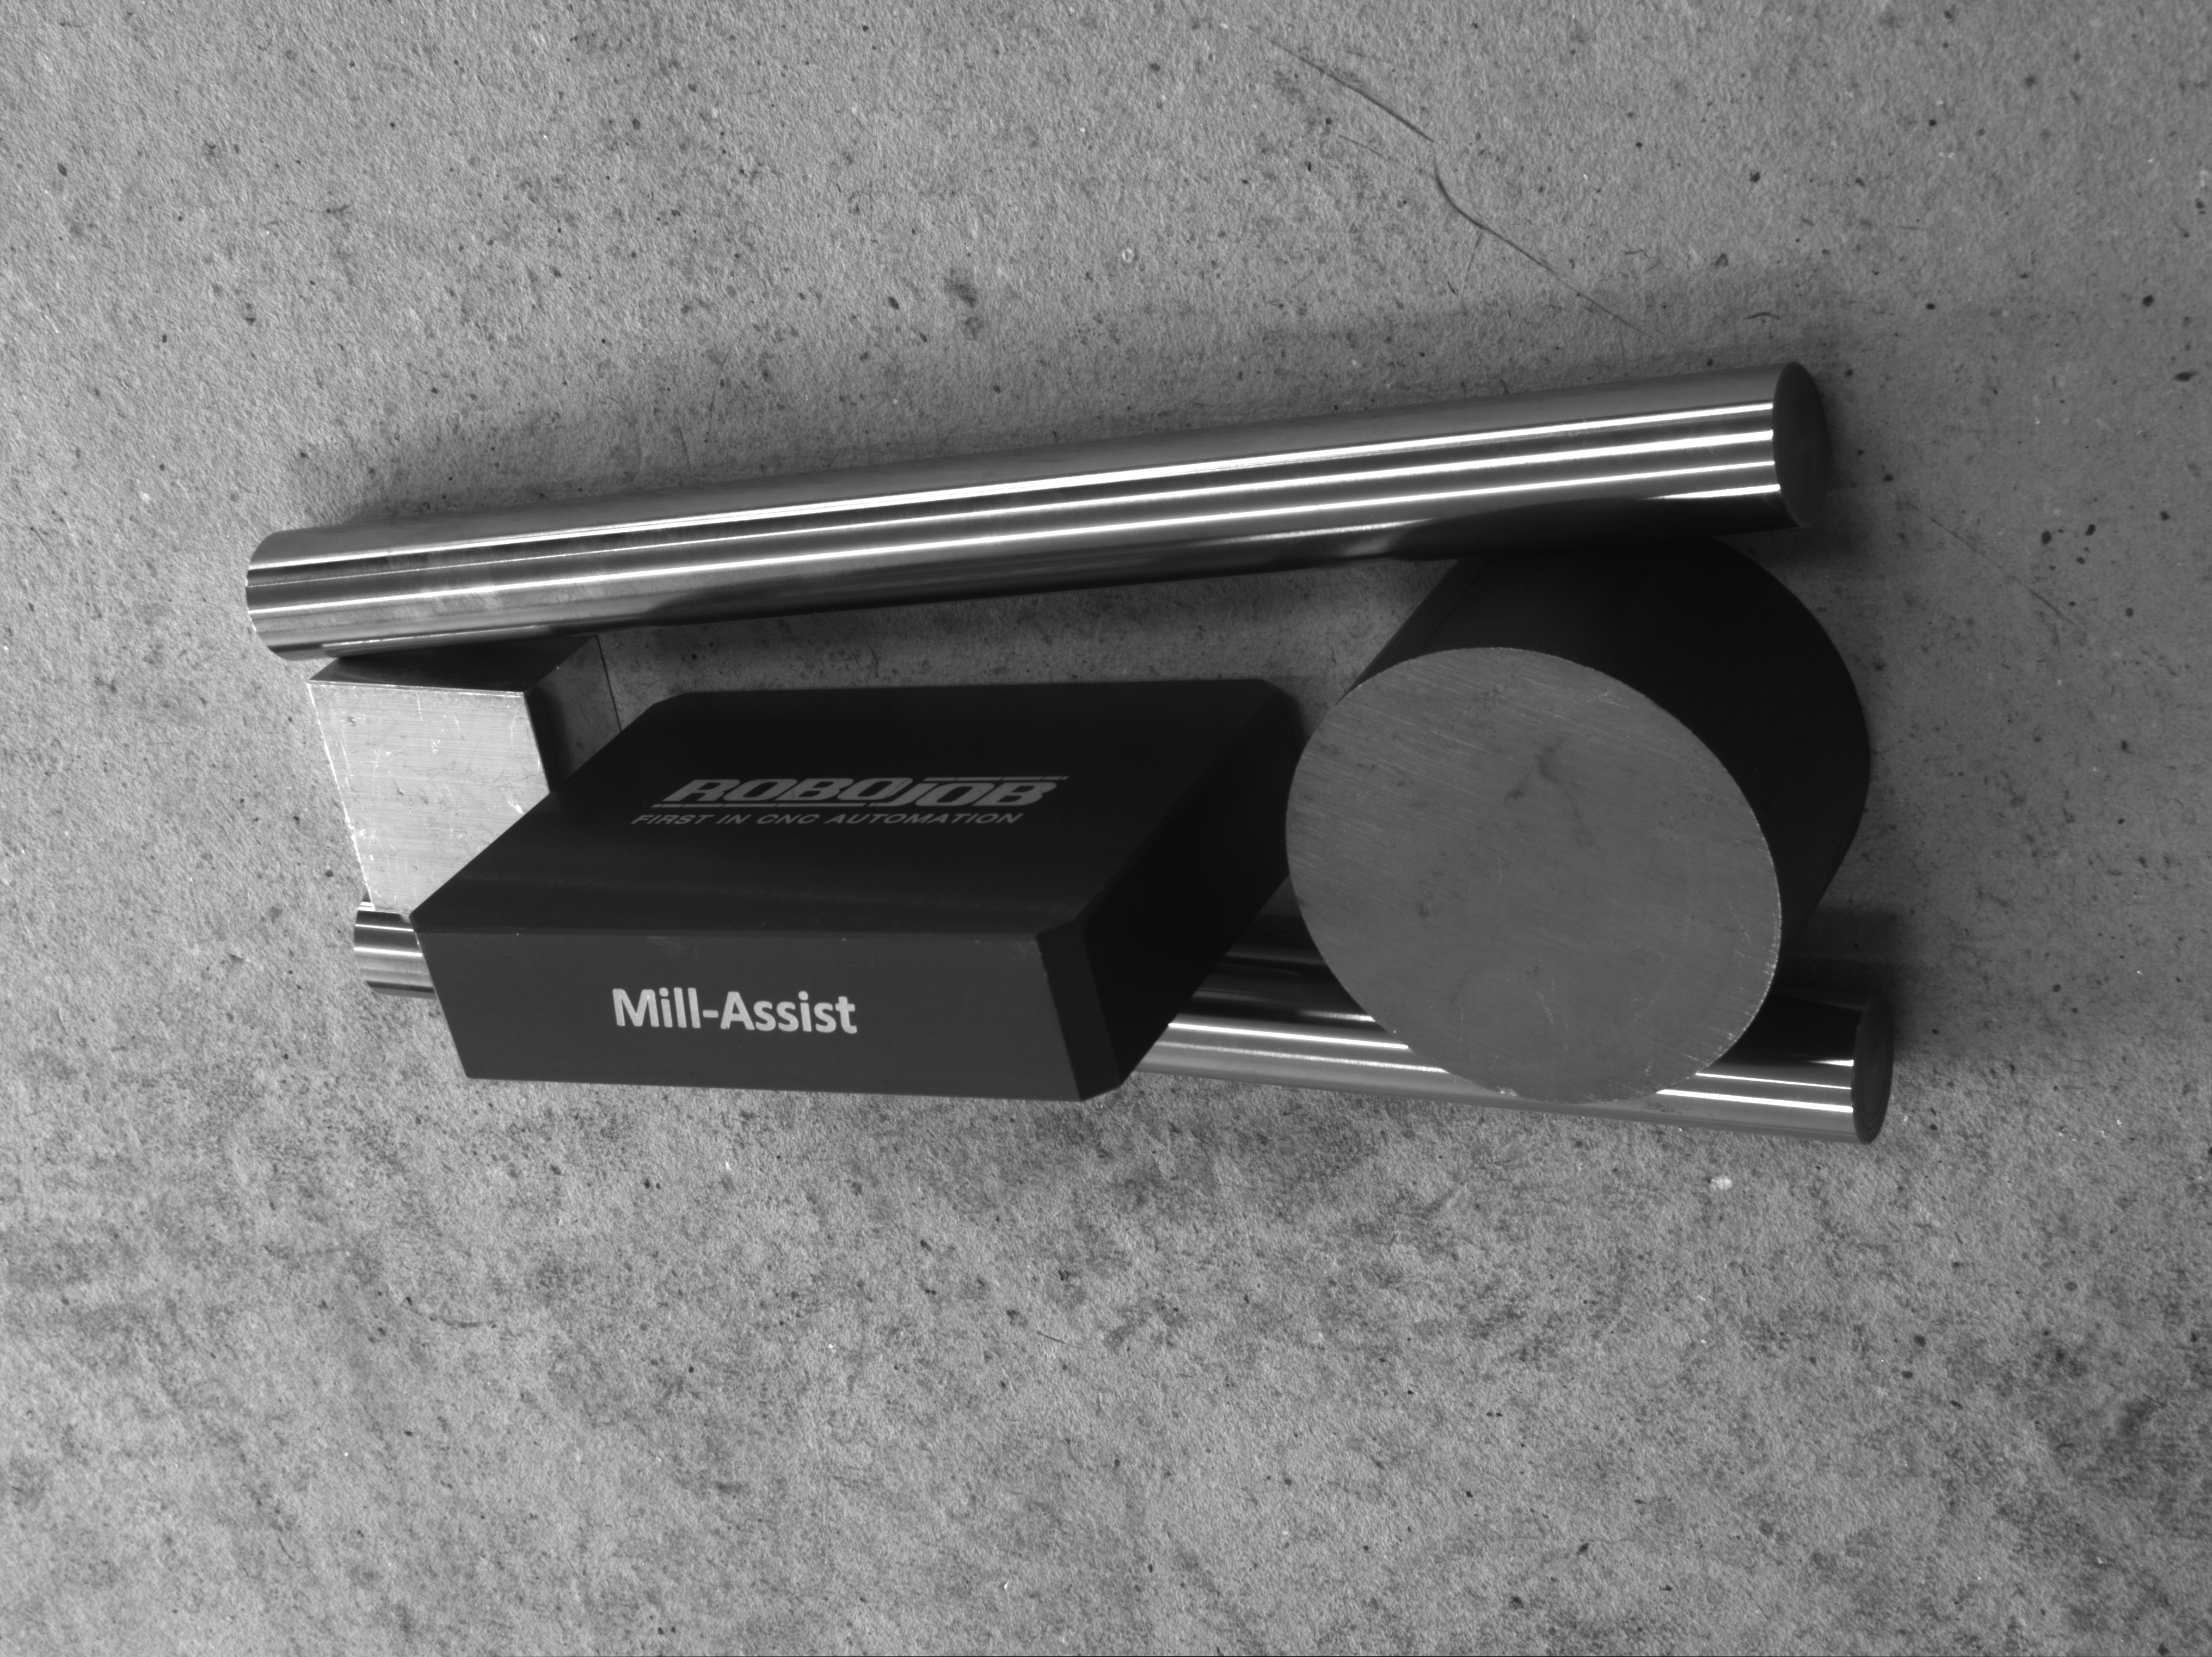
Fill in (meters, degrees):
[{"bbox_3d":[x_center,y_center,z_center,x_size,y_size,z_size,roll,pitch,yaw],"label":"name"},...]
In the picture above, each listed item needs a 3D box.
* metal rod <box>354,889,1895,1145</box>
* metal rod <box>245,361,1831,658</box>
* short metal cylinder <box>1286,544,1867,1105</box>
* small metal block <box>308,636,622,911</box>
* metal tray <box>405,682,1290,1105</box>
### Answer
[{"bbox_3d":[-0.008,0.030,0.666,0.299,0.025,0.025,4,120,26],"label":"metal rod"},{"bbox_3d":[-0.025,-0.051,0.626,0.299,0.025,0.025,-3,117,30],"label":"metal rod"},{"bbox_3d":[0.075,-0.003,0.584,0.080,0.050,0.080,13,124,21],"label":"short metal cylinder"},{"bbox_3d":[-0.118,-0.011,0.701,0.050,0.025,0.050,4,120,26],"label":"small metal block"},{"bbox_3d":[-0.042,0.009,0.627,0.130,0.090,0.030,0,118,29],"label":"metal tray"}]
